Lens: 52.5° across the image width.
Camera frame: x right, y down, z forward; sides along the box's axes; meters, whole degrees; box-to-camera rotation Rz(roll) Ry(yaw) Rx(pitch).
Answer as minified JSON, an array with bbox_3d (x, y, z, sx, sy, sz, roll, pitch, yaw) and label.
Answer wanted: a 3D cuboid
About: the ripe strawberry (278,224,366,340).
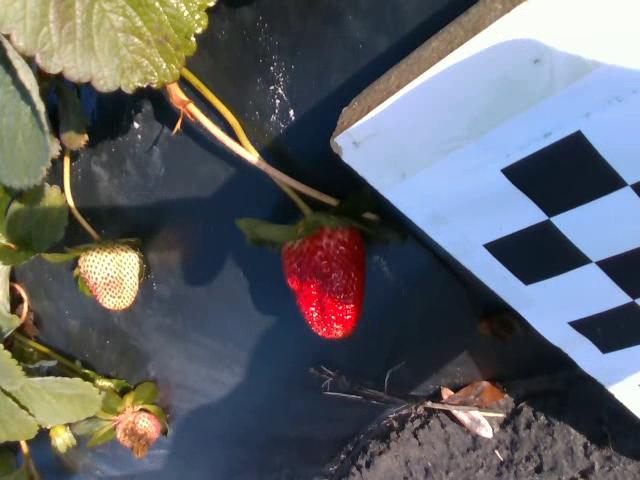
[{"bbox_3d":[0.001,0.005,0.096,0.015,0.023,0.015,-21,-14,37],"label":"ripe strawberry"}]
